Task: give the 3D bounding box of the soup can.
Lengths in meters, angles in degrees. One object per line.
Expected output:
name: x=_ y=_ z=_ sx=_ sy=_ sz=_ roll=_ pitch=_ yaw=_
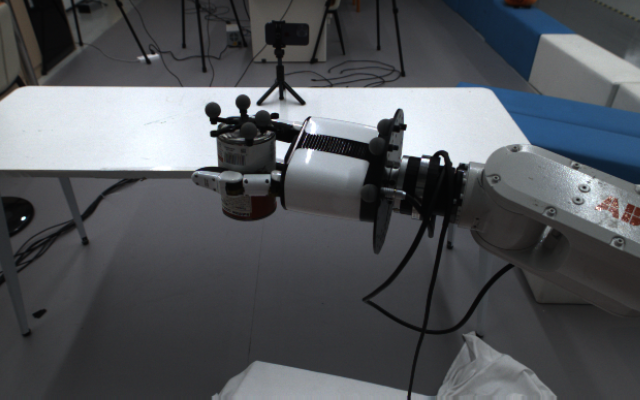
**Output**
soup can: x=-0.082 y=-0.035 z=0.562 sx=0.067 sy=0.101 sz=0.067 roll=2 pitch=32 yaw=-1
